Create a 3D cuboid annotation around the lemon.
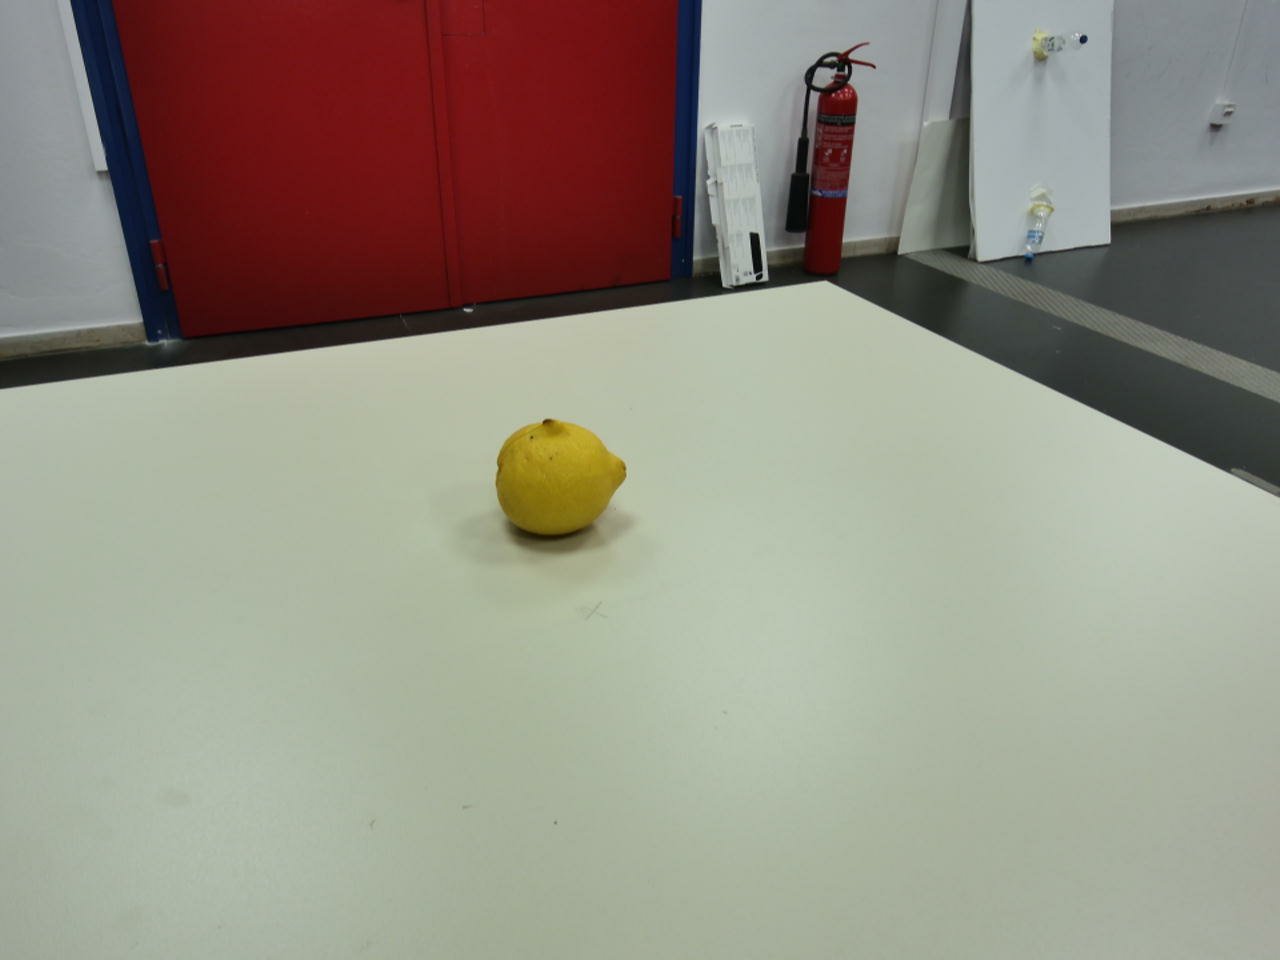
[{"bbox_3d":[-0.051,-0.004,0.586,0.071,0.071,0.070,15,30,28],"label":"lemon"}]
